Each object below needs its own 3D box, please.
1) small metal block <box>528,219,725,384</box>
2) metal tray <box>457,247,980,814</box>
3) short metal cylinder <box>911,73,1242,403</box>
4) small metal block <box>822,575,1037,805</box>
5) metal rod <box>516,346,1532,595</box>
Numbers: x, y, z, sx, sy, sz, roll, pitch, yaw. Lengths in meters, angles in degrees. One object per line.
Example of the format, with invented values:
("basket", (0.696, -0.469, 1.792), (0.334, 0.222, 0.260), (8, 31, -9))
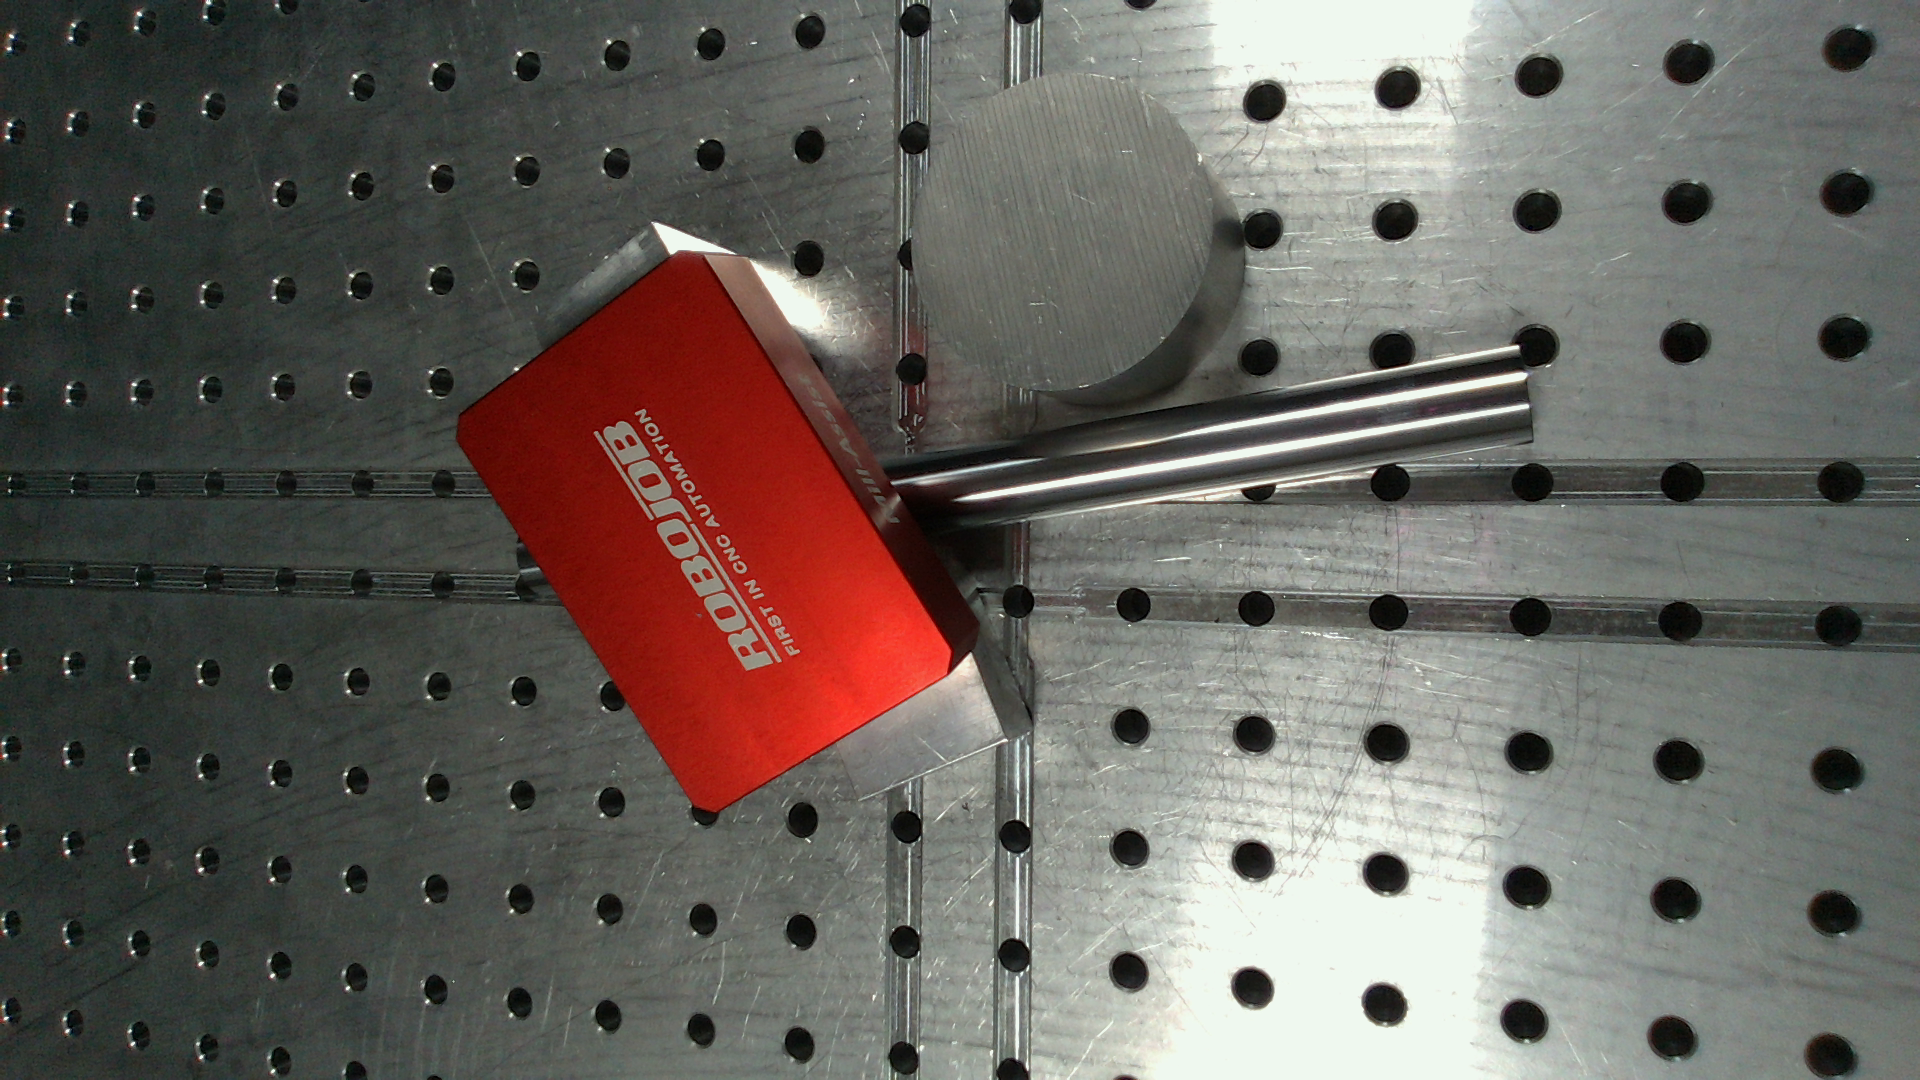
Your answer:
("small metal block", (-0.092, -0.067, 0.418), (0.050, 0.050, 0.025), (-34, 79, 17))
("metal tray", (-0.066, -0.002, 0.378), (0.090, 0.030, 0.130), (-32, 91, 18))
("short metal cylinder", (0.033, -0.078, 0.372), (0.080, 0.050, 0.080), (0, 90, 20))
("small metal block", (-0.013, 0.043, 0.402), (0.050, 0.025, 0.050), (-25, 82, 18))
("metal rod", (0.003, -0.016, 0.397), (0.299, 0.025, 0.025), (-9, 87, 20))
